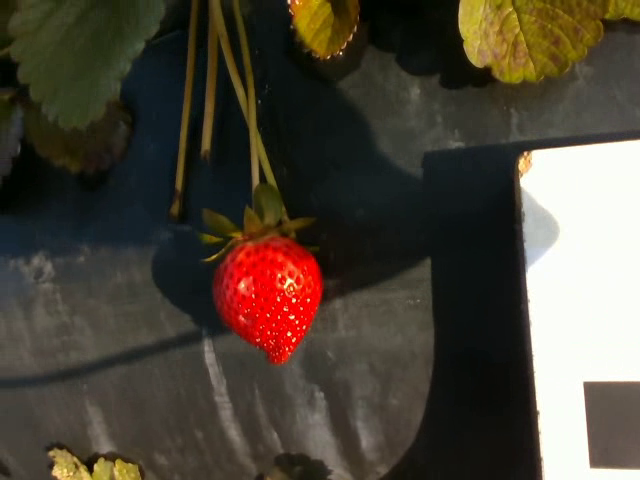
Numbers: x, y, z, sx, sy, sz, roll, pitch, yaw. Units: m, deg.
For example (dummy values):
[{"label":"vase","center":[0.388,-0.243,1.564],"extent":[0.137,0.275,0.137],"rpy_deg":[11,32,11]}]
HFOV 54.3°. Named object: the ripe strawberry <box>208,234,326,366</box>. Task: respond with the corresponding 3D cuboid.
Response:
[{"label":"ripe strawberry","center":[-0.014,0.020,0.186],"extent":[0.040,0.044,0.036],"rpy_deg":[-24,-14,16]}]
